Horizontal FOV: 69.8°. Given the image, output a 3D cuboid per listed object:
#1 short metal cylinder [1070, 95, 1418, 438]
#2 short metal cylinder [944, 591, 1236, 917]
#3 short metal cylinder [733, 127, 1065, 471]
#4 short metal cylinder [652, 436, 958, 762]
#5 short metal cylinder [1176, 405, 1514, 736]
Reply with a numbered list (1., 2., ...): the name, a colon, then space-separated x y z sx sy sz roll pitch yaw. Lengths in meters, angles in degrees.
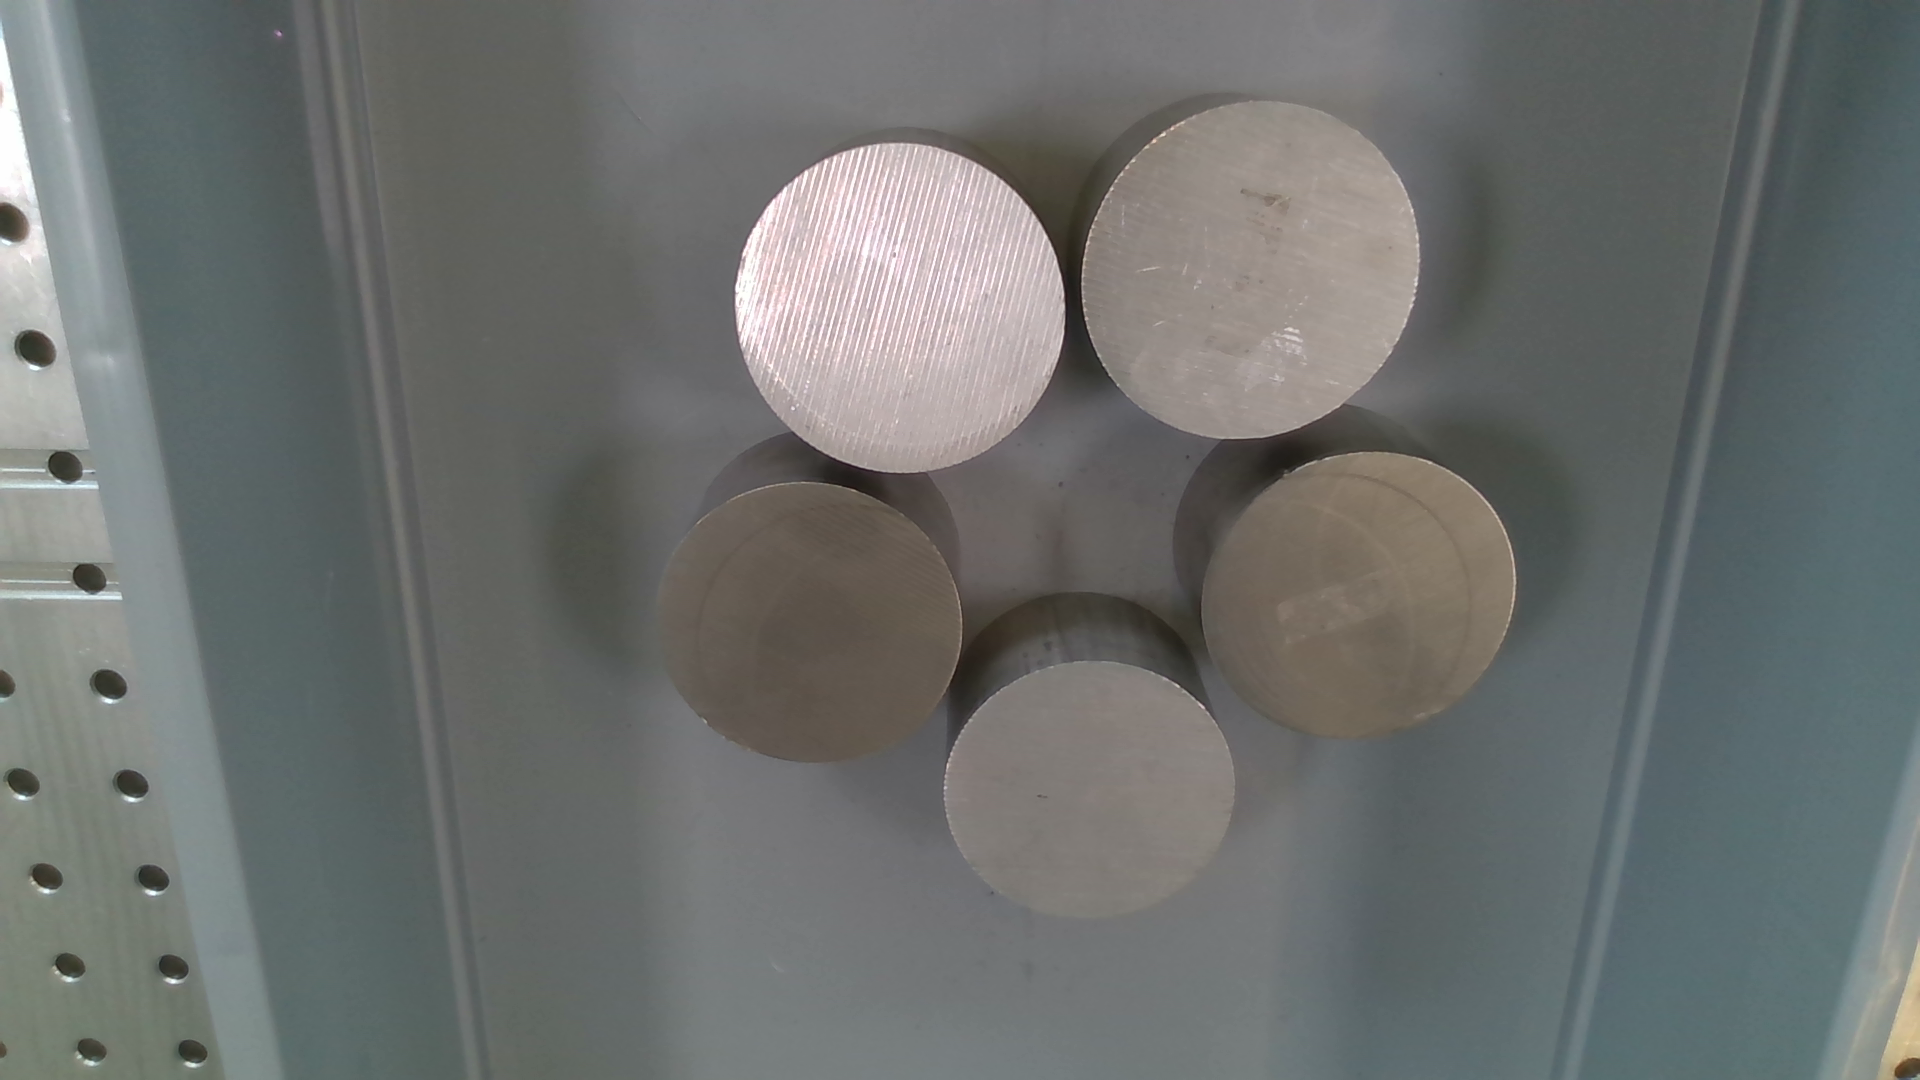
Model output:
1. short metal cylinder: 0.069 -0.072 0.352 0.080 0.050 0.080 0 110 0
2. short metal cylinder: 0.036 0.061 0.401 0.080 0.050 0.080 0 110 0
3. short metal cylinder: -0.015 -0.063 0.355 0.080 0.050 0.080 0 110 0
4. short metal cylinder: -0.040 0.014 0.384 0.080 0.050 0.080 0 110 0
5. short metal cylinder: 0.103 0.007 0.381 0.080 0.050 0.080 0 110 0
